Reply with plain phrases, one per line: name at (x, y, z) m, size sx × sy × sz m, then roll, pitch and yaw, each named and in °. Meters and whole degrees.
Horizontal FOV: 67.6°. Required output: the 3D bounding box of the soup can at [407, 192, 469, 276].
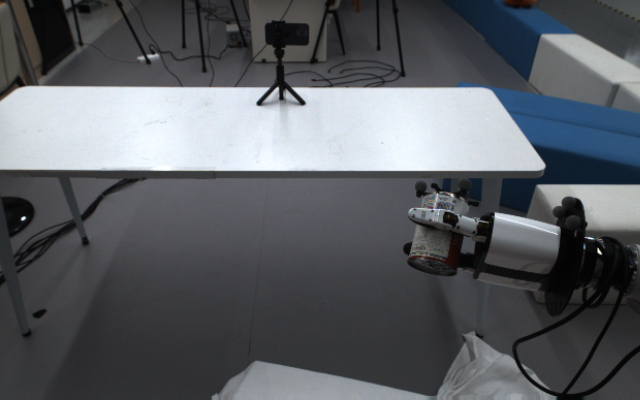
soup can at (0.166, 0.044, 0.676) m, size 0.067 × 0.067 × 0.101 m, roll 12°, pitch 71°, yaw 14°
